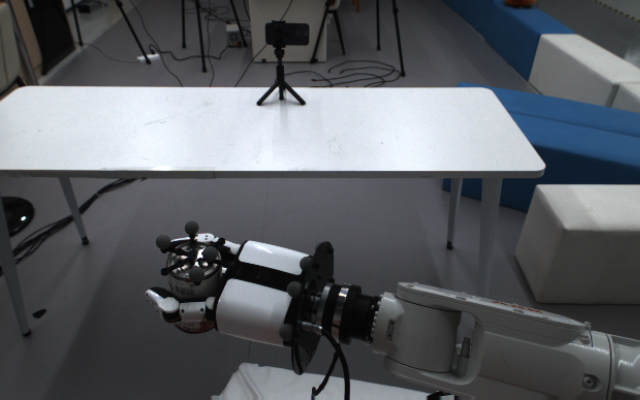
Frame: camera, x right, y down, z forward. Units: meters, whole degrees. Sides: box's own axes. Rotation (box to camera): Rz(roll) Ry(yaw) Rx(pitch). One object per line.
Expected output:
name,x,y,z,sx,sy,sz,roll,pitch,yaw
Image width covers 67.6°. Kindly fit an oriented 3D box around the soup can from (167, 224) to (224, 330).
soup can,-0.156,0.113,0.616,0.067,0.101,0.067,5,37,-4
